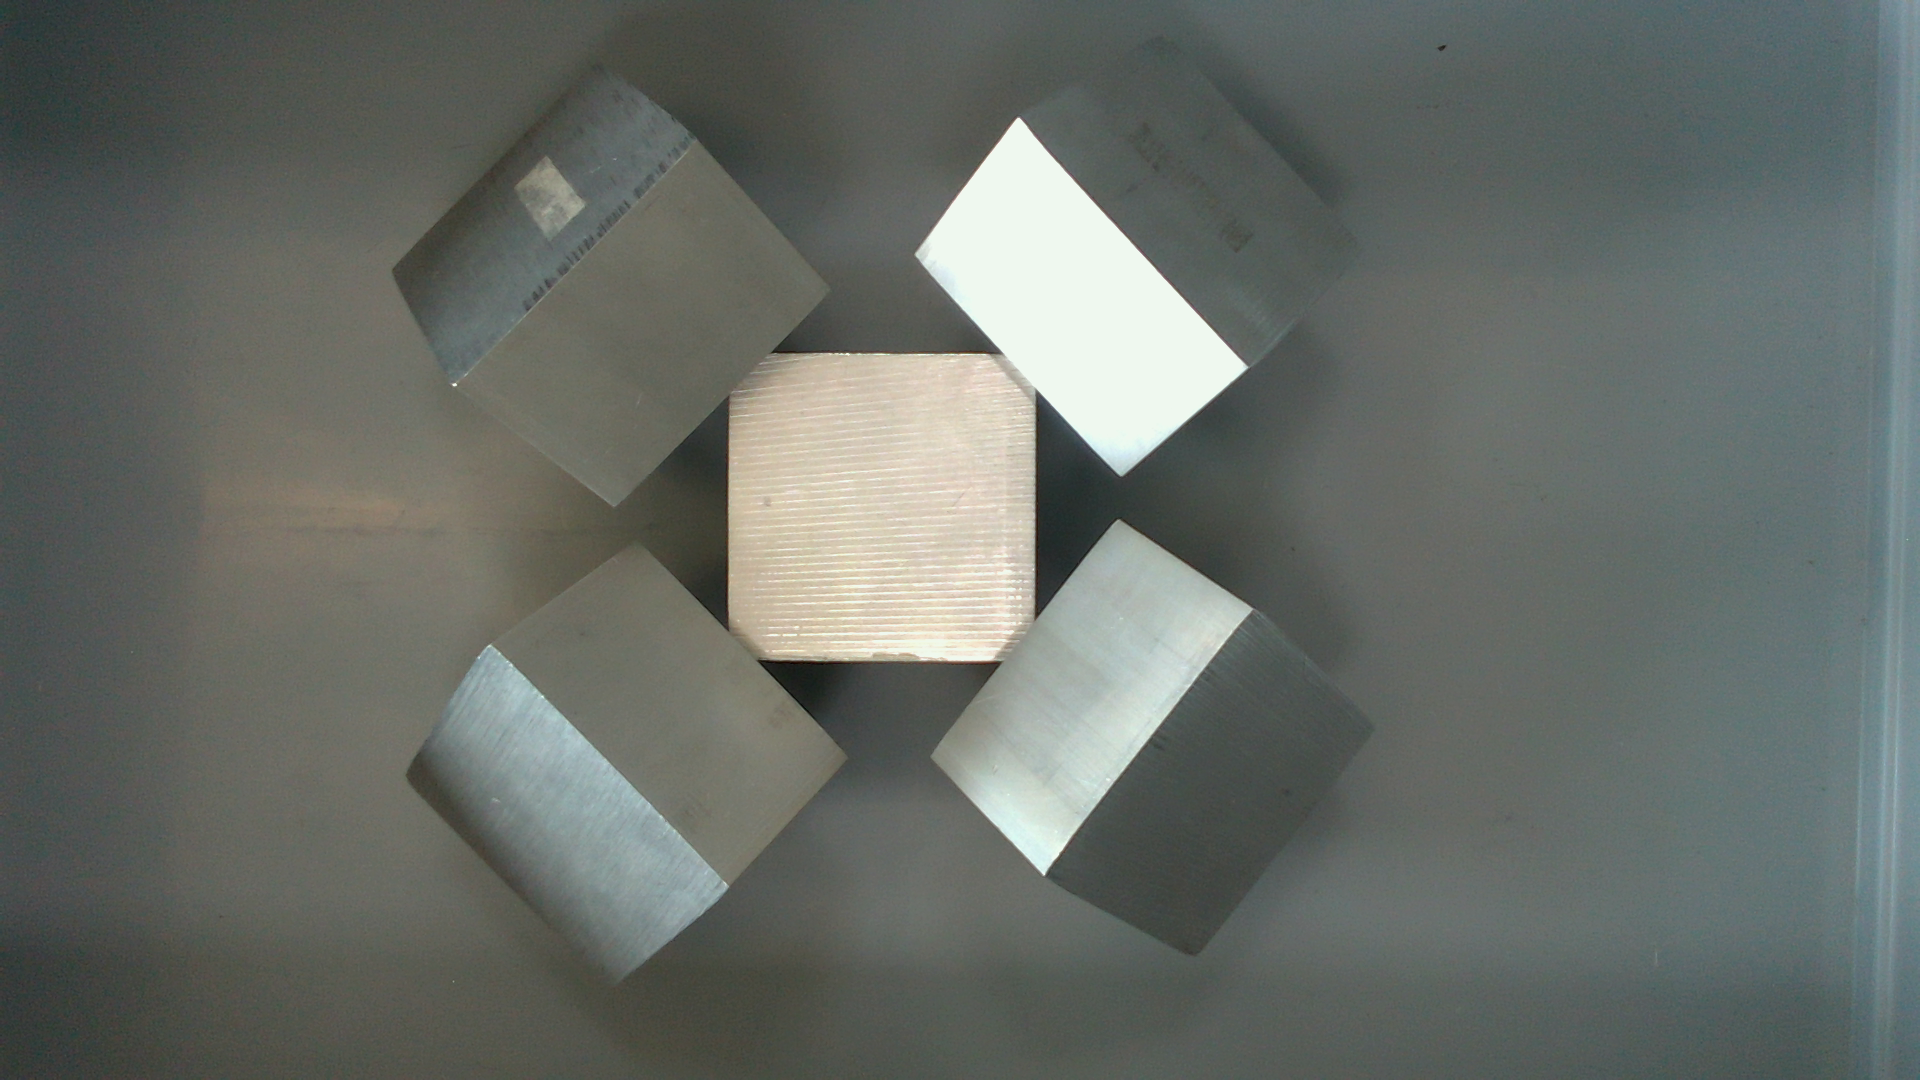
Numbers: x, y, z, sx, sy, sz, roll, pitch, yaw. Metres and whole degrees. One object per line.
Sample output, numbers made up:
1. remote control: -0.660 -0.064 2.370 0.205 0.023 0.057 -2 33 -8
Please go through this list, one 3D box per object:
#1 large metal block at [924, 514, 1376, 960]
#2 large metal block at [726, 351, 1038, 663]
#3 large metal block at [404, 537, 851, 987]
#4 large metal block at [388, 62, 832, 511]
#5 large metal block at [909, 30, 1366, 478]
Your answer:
1. large metal block: 0.052 0.053 0.360 0.080 0.050 0.080 -52 135 0
2. large metal block: -0.020 -0.009 0.380 0.080 0.050 0.080 1 90 0
3. large metal block: -0.089 0.060 0.361 0.080 0.050 0.080 46 134 0
4. large metal block: -0.093 -0.068 0.358 0.080 0.080 0.050 -46 134 0
5. large metal block: 0.048 -0.077 0.361 0.080 0.050 0.080 47 47 0
